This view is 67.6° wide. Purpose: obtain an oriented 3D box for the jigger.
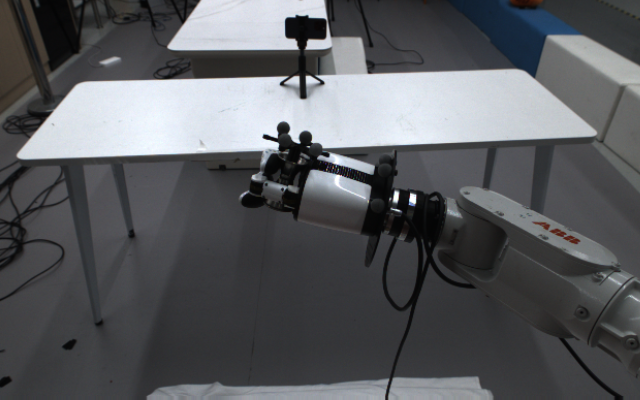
[{"bbox_3d":[-0.045,-0.023,0.639,0.043,0.071,0.043,18,17,-6],"label":"jigger"}]
